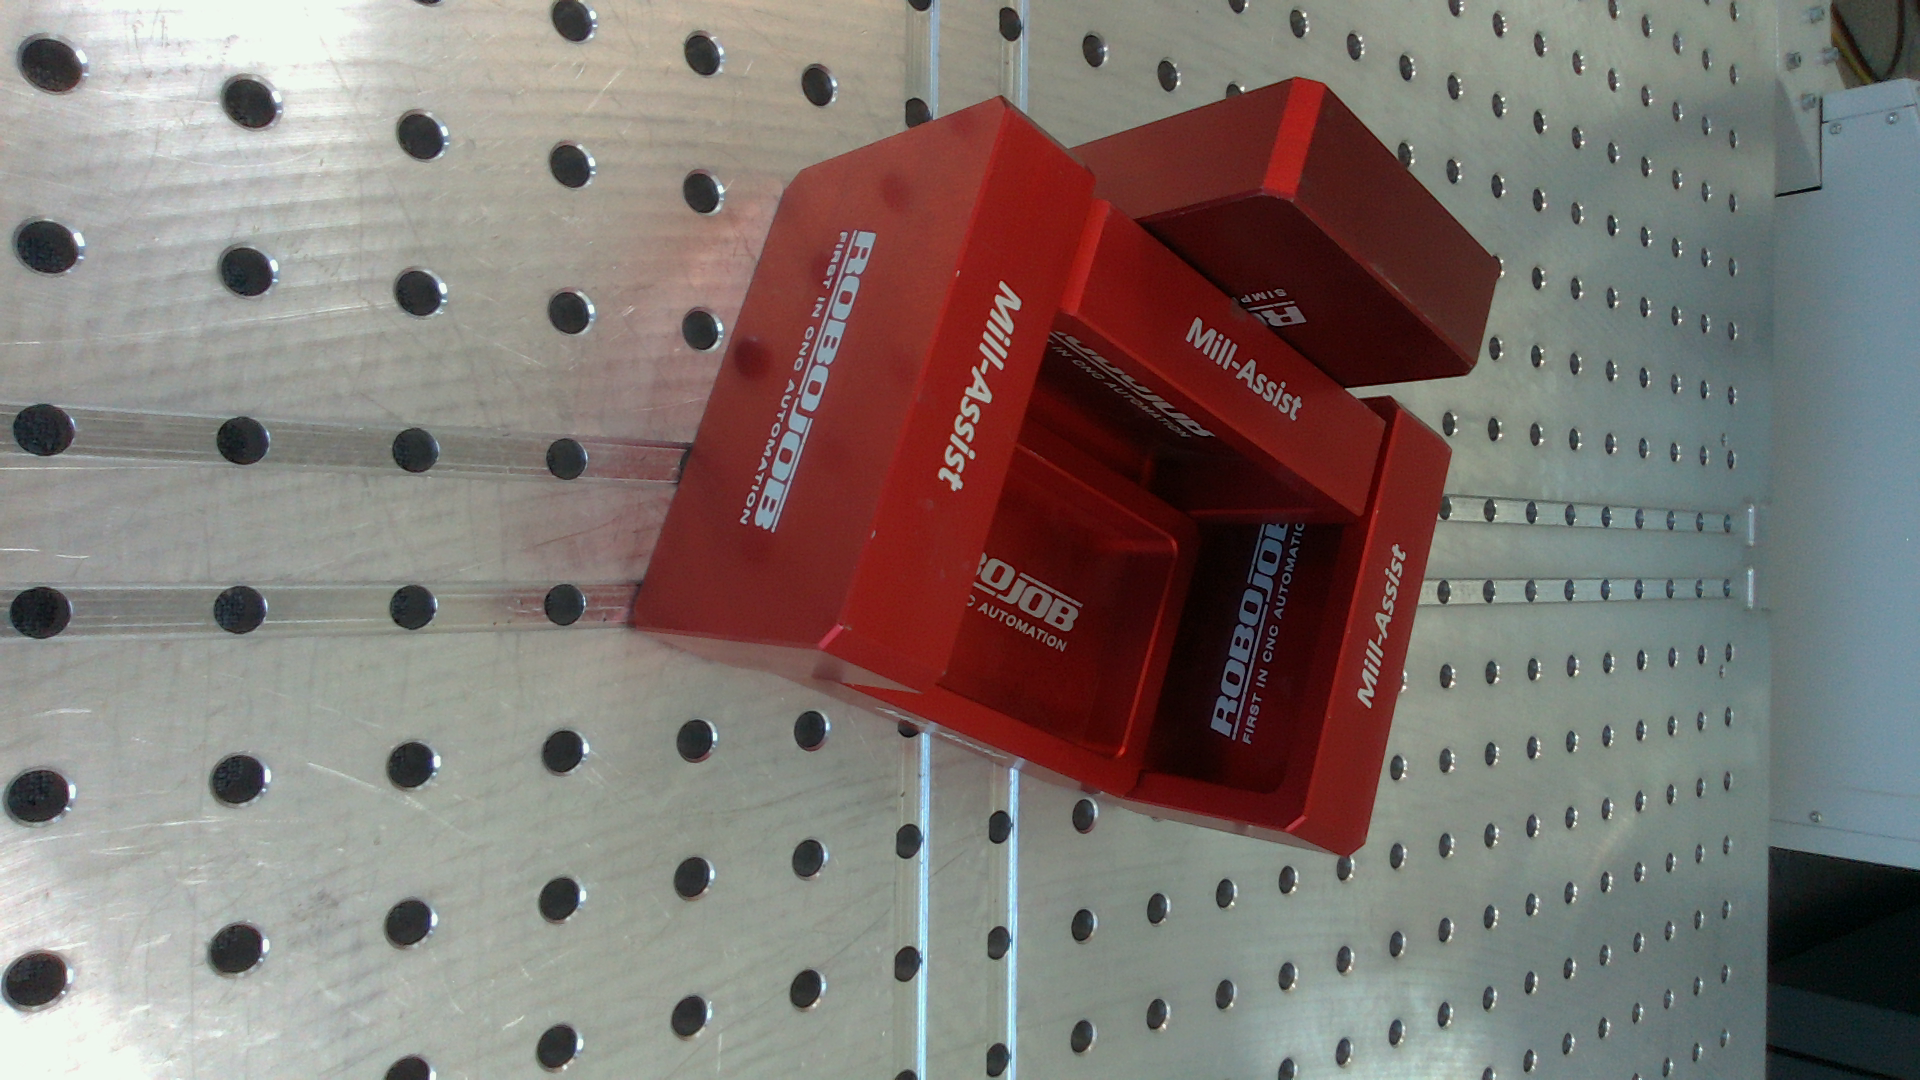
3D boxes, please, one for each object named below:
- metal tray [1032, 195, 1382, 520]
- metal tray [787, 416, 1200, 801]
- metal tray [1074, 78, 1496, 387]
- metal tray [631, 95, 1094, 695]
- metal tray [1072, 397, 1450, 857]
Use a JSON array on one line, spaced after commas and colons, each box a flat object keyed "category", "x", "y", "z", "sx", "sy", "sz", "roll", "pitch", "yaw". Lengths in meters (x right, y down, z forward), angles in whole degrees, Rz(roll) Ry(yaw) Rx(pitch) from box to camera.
[{"category": "metal tray", "x": 0.045, "y": -0.044, "z": 0.386, "sx": 0.130, "sy": 0.090, "sz": 0.030, "roll": 28, "pitch": 73, "yaw": -37}, {"category": "metal tray", "x": 0.009, "y": 0.013, "z": 0.395, "sx": 0.130, "sy": 0.030, "sz": 0.090, "roll": 28, "pitch": 73, "yaw": -37}, {"category": "metal tray", "x": 0.064, "y": -0.073, "z": 0.376, "sx": 0.090, "sy": 0.129, "sz": 0.030, "roll": 28, "pitch": 73, "yaw": -37}, {"category": "metal tray", "x": -0.025, "y": -0.033, "z": 0.328, "sx": 0.030, "sy": 0.090, "sz": 0.130, "roll": 28, "pitch": 73, "yaw": -37}, {"category": "metal tray", "x": 0.091, "y": 0.024, "z": 0.425, "sx": 0.030, "sy": 0.090, "sz": 0.130, "roll": 27, "pitch": 73, "yaw": -37}]
